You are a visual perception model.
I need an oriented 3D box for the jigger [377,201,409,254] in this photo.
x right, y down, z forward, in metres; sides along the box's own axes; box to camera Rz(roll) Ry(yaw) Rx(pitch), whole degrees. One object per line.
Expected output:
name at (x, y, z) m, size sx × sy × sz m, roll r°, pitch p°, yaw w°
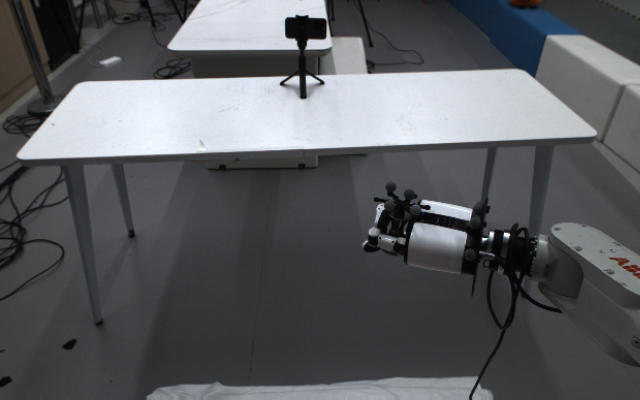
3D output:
jigger at (0.126, 0.051, 0.788) m, size 0.043 × 0.071 × 0.043 m, roll 5°, pitch 26°, yaw -3°
